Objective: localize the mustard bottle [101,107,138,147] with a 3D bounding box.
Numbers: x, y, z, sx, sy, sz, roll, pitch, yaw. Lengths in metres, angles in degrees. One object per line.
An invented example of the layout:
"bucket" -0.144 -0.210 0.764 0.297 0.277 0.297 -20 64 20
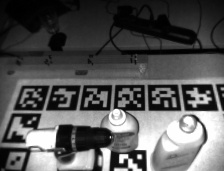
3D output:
"mustard bottle" 0.020 0.103 0.558 0.096 0.193 0.058 -1 56 5

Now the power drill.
"power drill" -0.086 0.146 0.517 0.184 0.188 0.057 -3 50 1

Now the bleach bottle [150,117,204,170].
"bleach bottle" 0.144 0.137 0.498 0.102 0.252 0.067 -9 57 1
